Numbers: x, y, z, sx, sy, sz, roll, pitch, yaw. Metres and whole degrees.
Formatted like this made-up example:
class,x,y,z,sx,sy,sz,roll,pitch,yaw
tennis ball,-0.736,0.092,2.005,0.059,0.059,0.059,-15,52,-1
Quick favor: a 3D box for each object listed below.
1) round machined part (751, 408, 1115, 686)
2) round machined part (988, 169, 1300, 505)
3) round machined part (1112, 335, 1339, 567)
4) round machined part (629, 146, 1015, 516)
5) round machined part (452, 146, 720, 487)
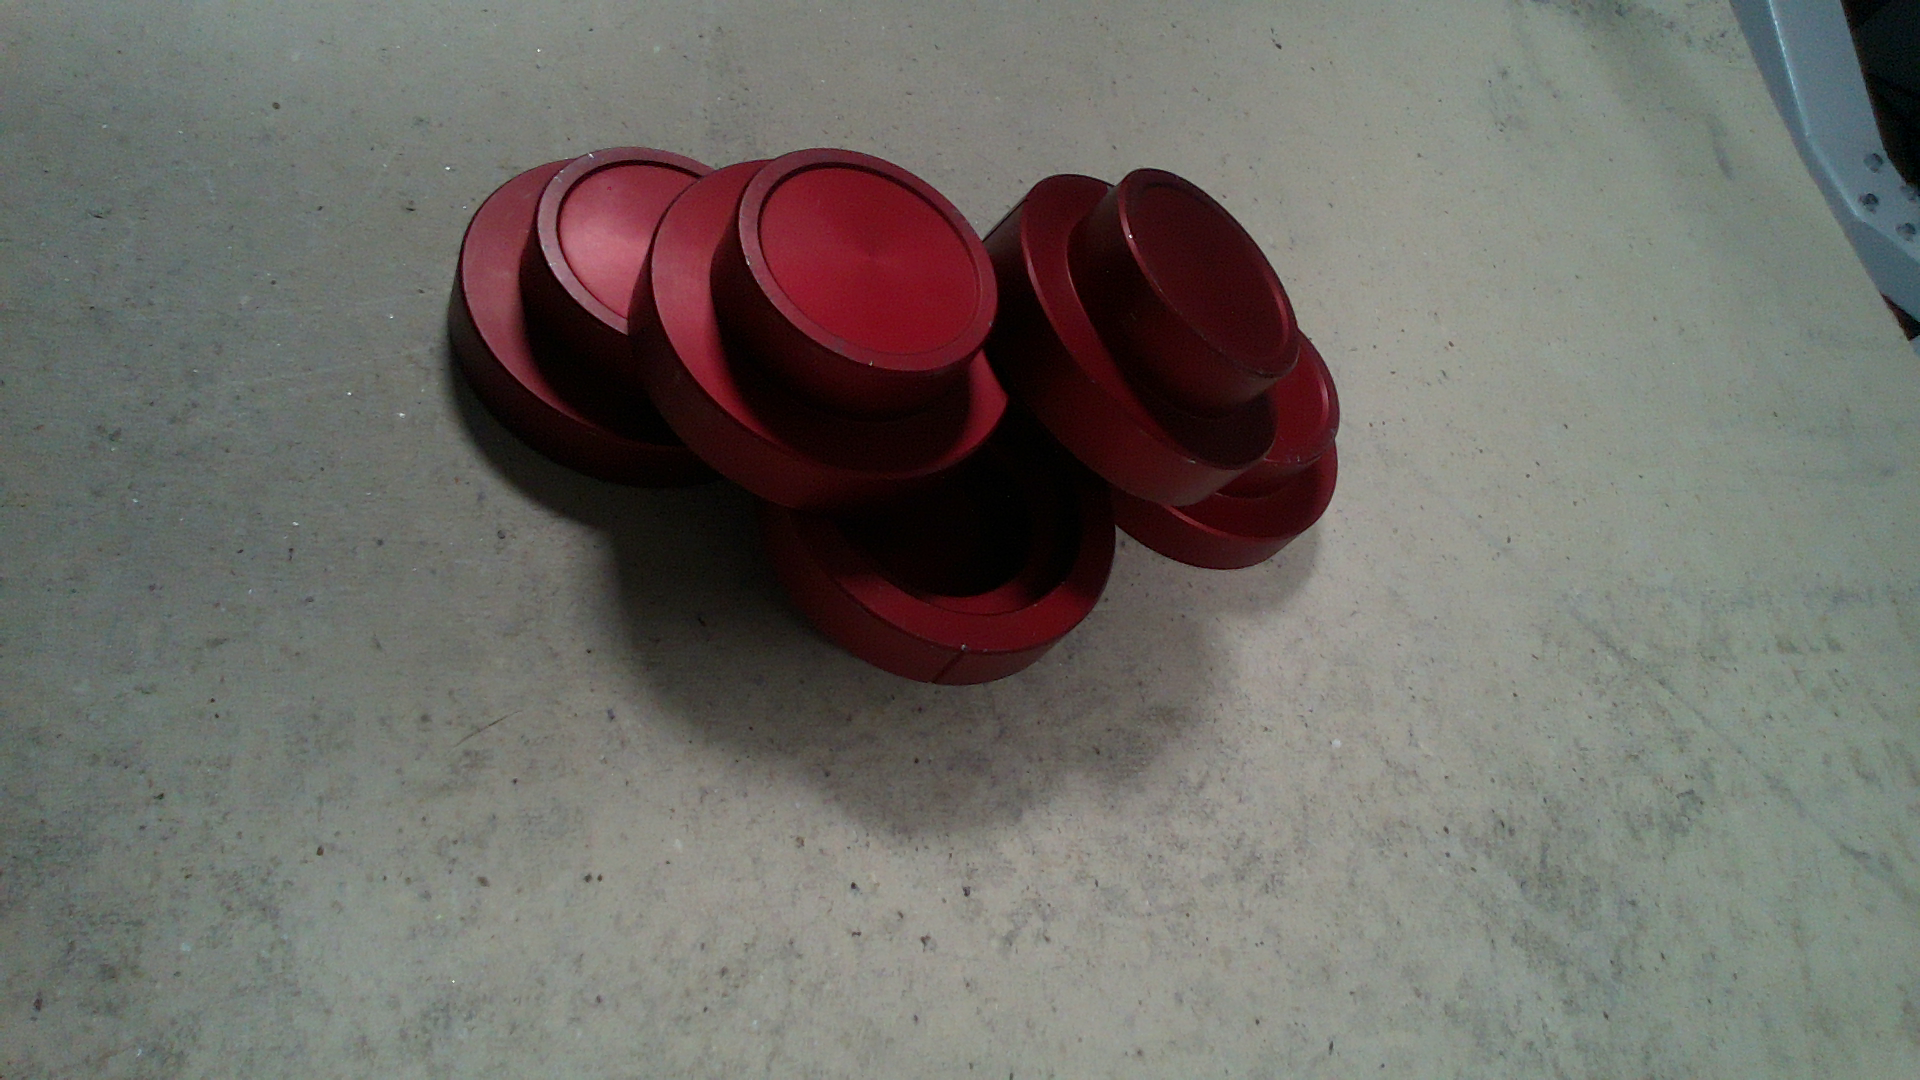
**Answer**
class,x,y,z,sx,sy,sz,roll,pitch,yaw
round machined part,-0.010,-0.005,0.376,0.098,0.042,0.098,14,56,-21
round machined part,0.055,-0.062,0.379,0.098,0.042,0.098,24,46,-28
round machined part,0.083,-0.044,0.450,0.098,0.042,0.098,14,56,-21
round machined part,-0.029,-0.059,0.345,0.098,0.042,0.098,14,56,-21
round machined part,-0.084,-0.067,0.374,0.098,0.042,0.098,14,56,-21
